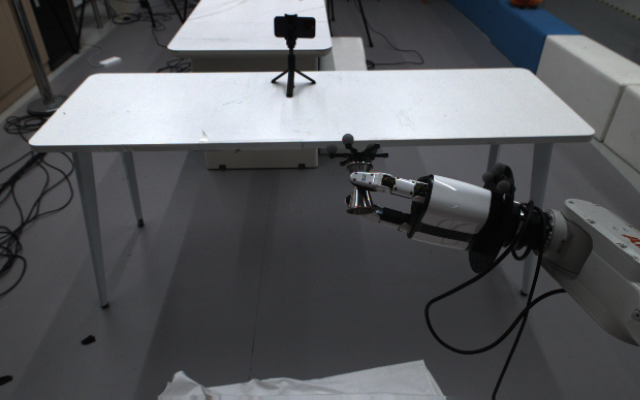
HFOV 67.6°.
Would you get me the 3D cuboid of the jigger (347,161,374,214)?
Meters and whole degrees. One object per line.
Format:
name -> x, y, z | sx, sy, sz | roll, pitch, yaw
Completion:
jigger -> 0.058, -0.019, 0.696 | 0.043, 0.043, 0.071 | 0, 75, -3
